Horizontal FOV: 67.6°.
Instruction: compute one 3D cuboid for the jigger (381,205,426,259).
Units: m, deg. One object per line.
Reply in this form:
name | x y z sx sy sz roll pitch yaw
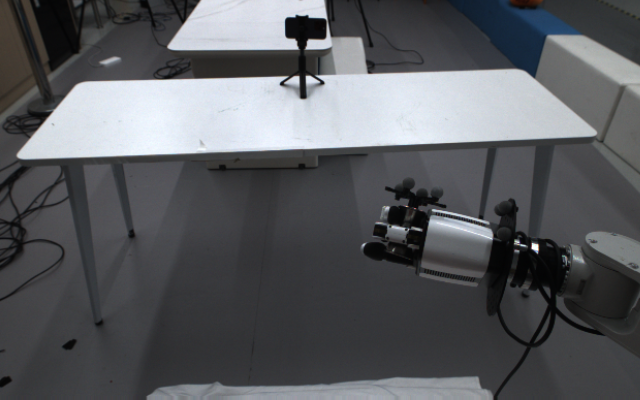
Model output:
jigger | 0.120 0.044 0.674 0.043 0.071 0.043 19 -6 2
